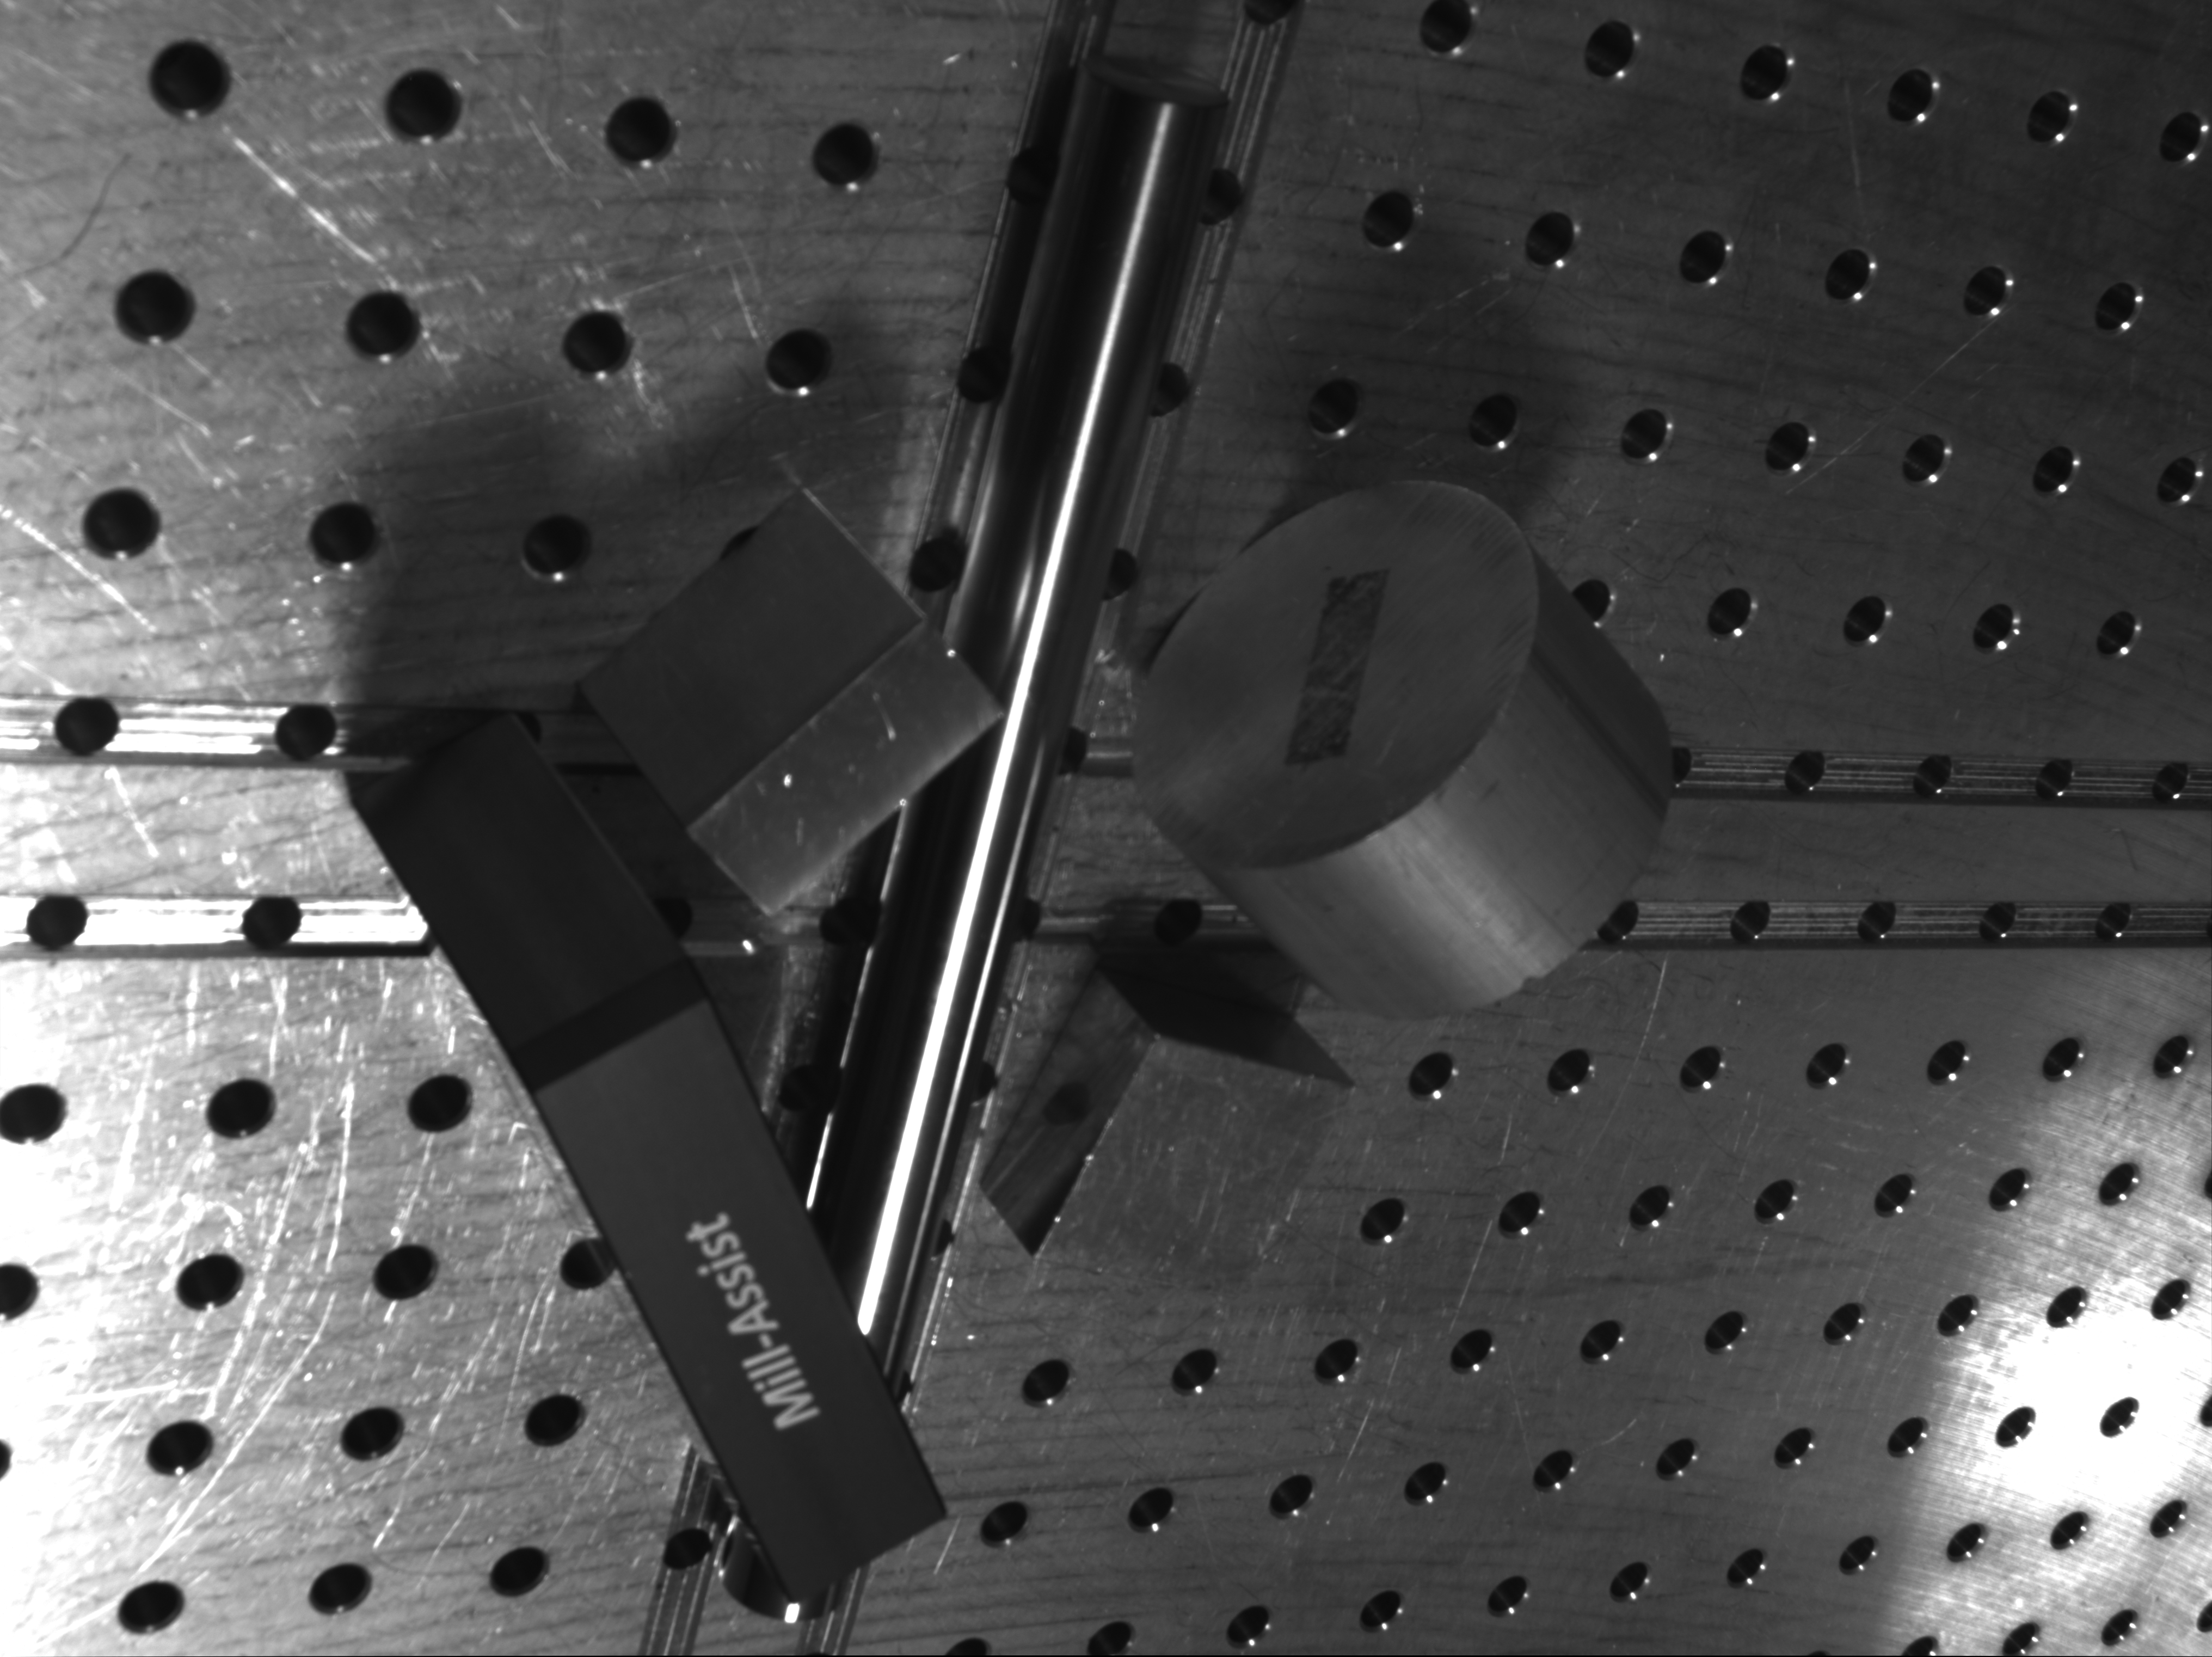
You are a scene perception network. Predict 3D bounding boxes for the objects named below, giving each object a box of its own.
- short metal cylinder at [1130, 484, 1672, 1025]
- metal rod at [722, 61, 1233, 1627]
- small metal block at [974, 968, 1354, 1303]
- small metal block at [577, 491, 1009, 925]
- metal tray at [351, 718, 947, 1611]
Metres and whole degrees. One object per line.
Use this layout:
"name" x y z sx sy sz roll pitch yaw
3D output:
"short metal cylinder" 0.051 -0.013 0.640 0.080 0.080 0.050 -44 130 1
"metal rod" -0.027 0.014 0.646 0.025 0.025 0.300 0 118 -30
"small metal block" 0.011 0.059 0.698 0.050 0.025 0.050 17 109 -36
"small metal block" -0.051 -0.020 0.594 0.050 0.050 0.025 -41 130 -1
"metal tray" -0.074 0.056 0.602 0.030 0.090 0.130 -29 129 -12
